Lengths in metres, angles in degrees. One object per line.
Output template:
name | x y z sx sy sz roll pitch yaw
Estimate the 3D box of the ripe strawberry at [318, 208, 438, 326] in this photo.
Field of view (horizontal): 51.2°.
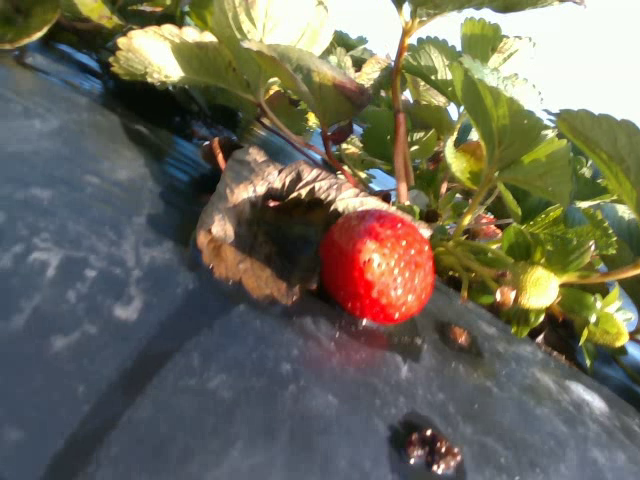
ripe strawberry | 0.013 0.007 0.164 0.037 0.047 0.054 -44 -15 9
